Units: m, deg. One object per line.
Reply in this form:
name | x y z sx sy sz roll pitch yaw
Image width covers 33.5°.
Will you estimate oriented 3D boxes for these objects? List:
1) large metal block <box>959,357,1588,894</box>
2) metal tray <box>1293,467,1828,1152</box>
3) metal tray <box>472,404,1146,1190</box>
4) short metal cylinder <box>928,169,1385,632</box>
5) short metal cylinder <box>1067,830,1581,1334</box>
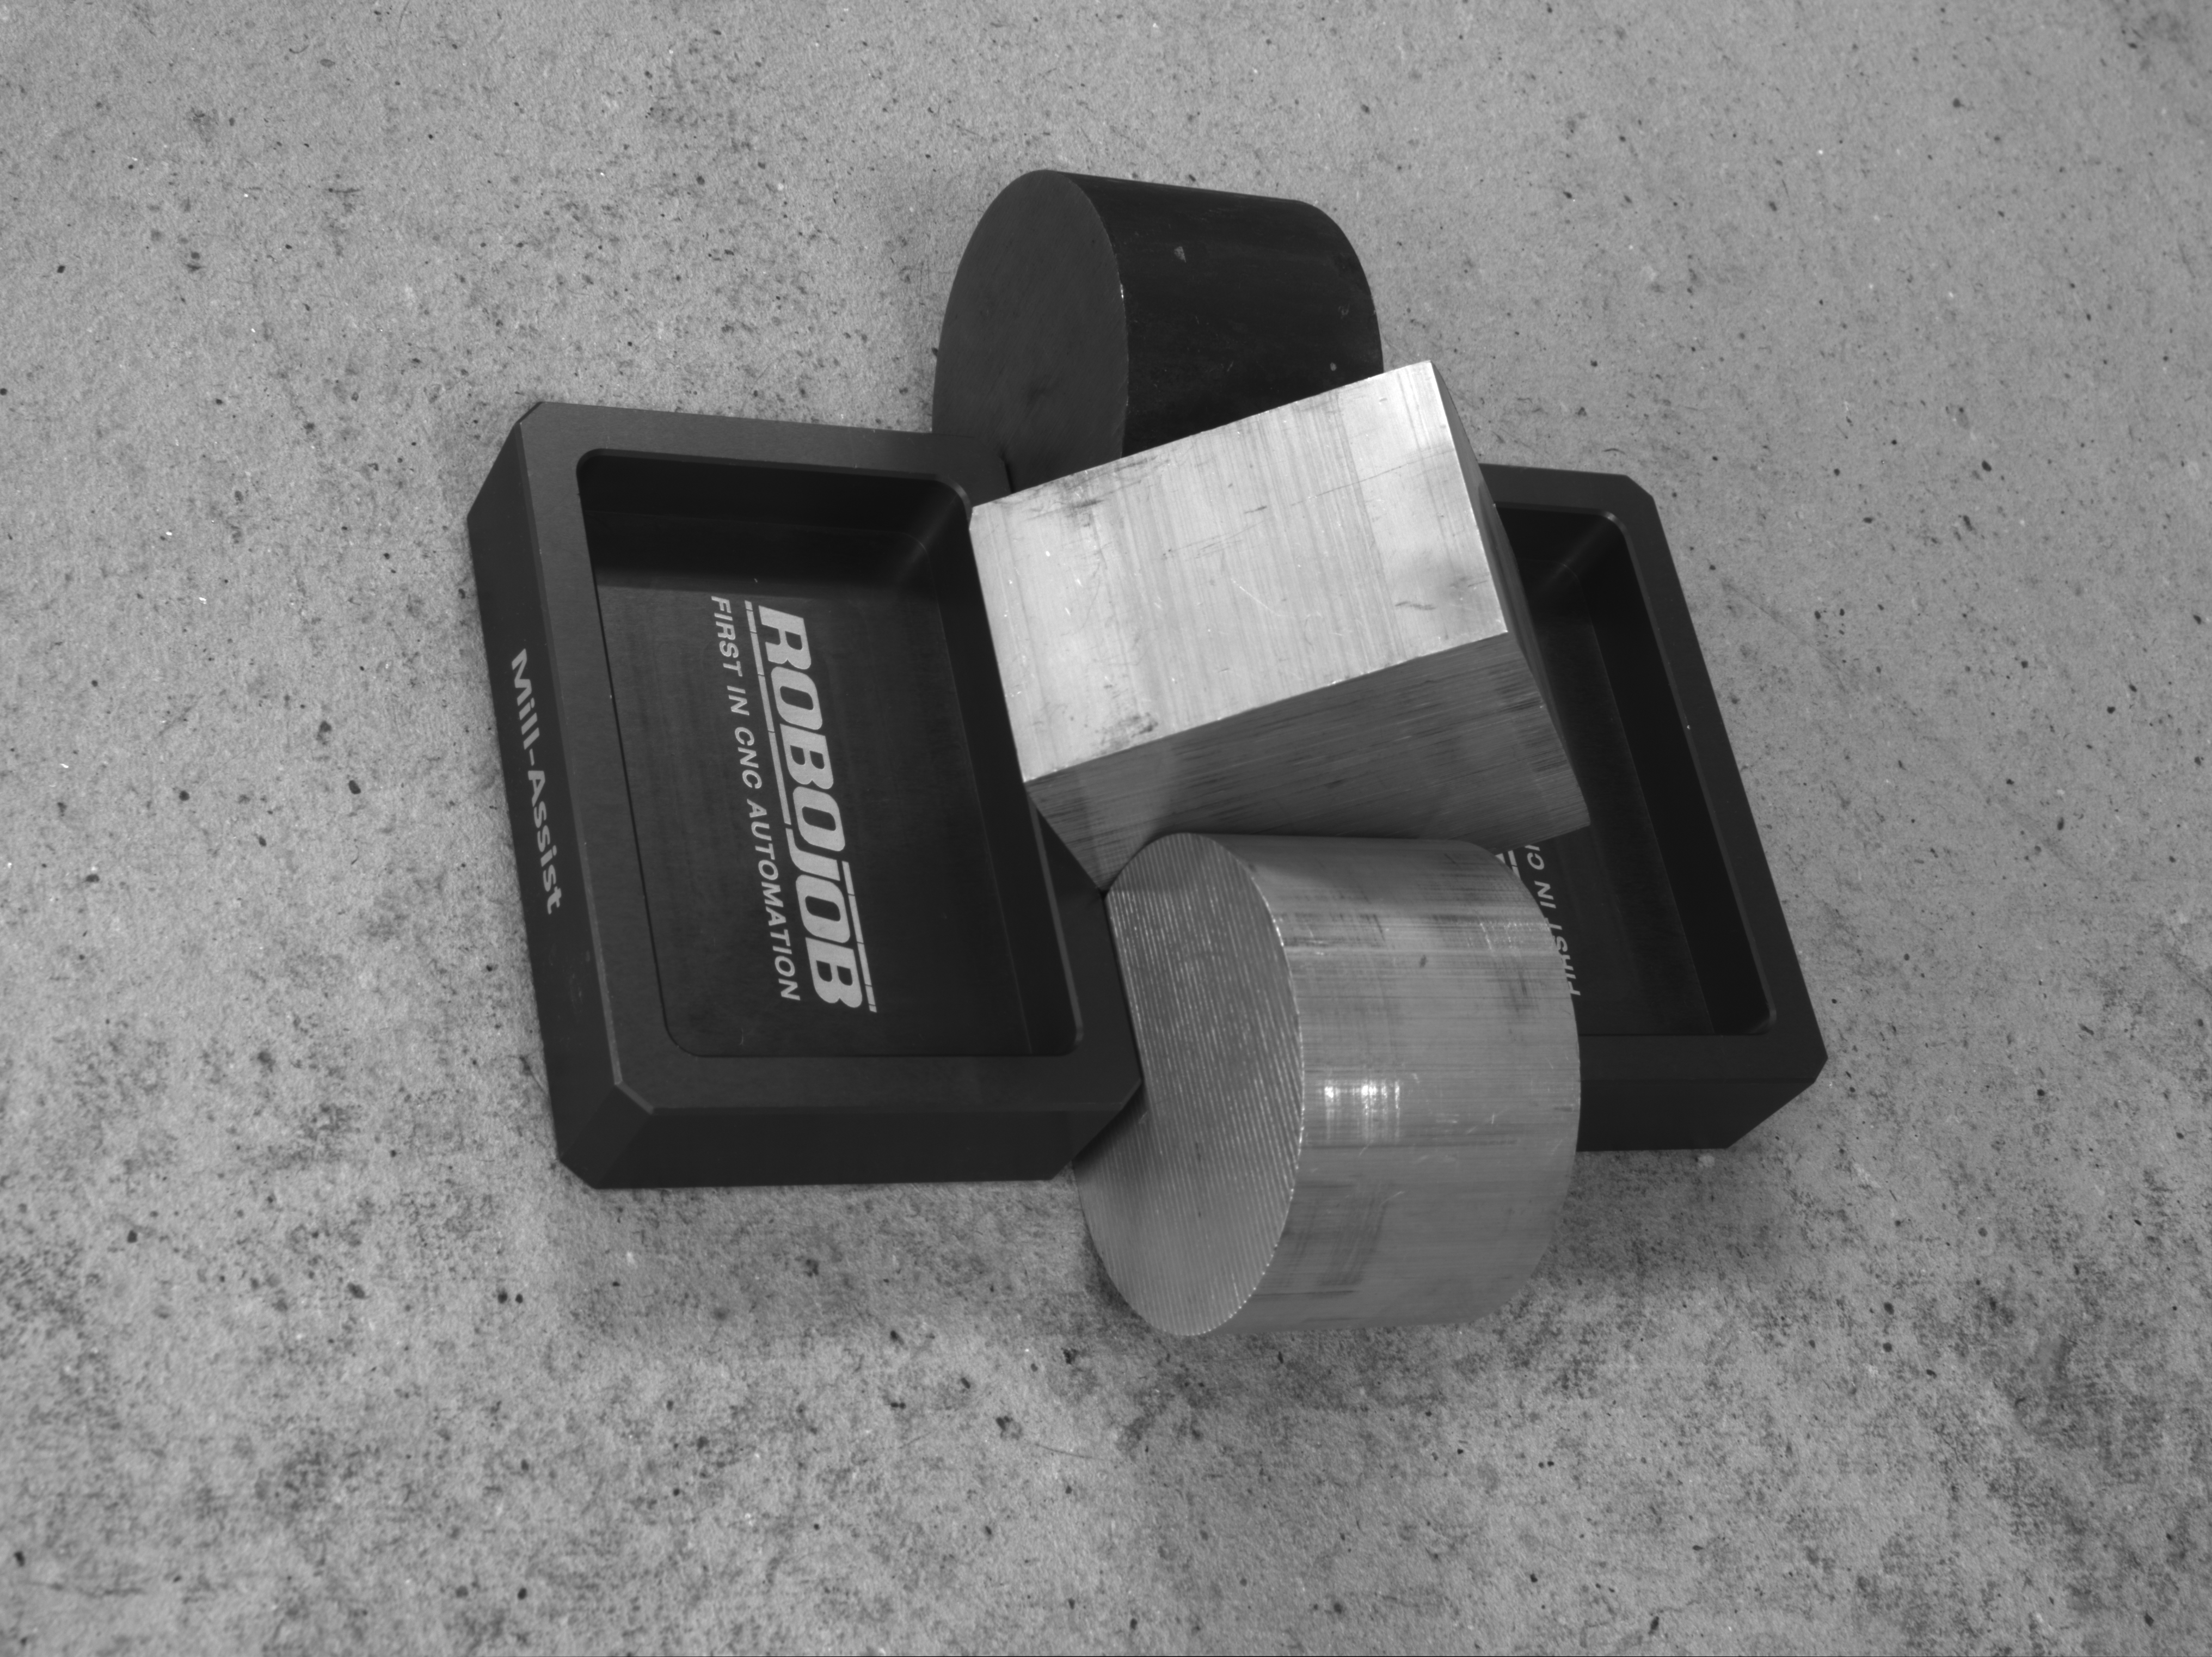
large metal block | 0.029 -0.026 0.610 0.080 0.080 0.050 -17 65 9
metal tray | 0.073 -0.005 0.679 0.090 0.030 0.130 2 61 -27
metal tray | -0.051 -0.006 0.613 0.090 0.030 0.130 2 61 -27
short metal cylinder | 0.008 -0.074 0.654 0.050 0.080 0.080 2 61 -27
short metal cylinder | 0.034 0.041 0.597 0.050 0.080 0.080 2 61 -27
